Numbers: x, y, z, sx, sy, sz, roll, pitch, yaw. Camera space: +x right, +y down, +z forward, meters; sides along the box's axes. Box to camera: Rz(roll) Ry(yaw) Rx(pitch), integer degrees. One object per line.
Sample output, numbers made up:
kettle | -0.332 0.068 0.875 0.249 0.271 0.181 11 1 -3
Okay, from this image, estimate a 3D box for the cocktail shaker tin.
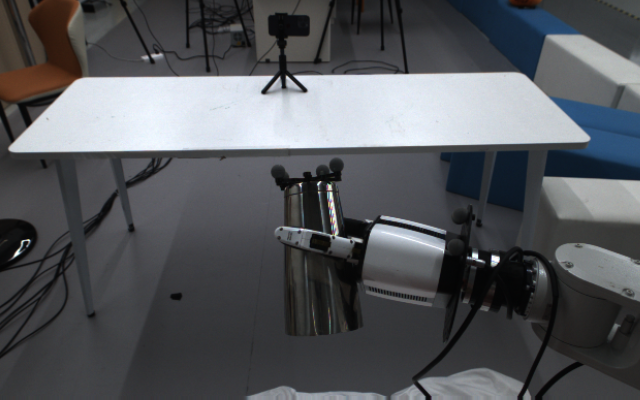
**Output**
cocktail shaker tin | -0.002 0.068 0.577 0.093 0.170 0.093 -6 -7 -1
